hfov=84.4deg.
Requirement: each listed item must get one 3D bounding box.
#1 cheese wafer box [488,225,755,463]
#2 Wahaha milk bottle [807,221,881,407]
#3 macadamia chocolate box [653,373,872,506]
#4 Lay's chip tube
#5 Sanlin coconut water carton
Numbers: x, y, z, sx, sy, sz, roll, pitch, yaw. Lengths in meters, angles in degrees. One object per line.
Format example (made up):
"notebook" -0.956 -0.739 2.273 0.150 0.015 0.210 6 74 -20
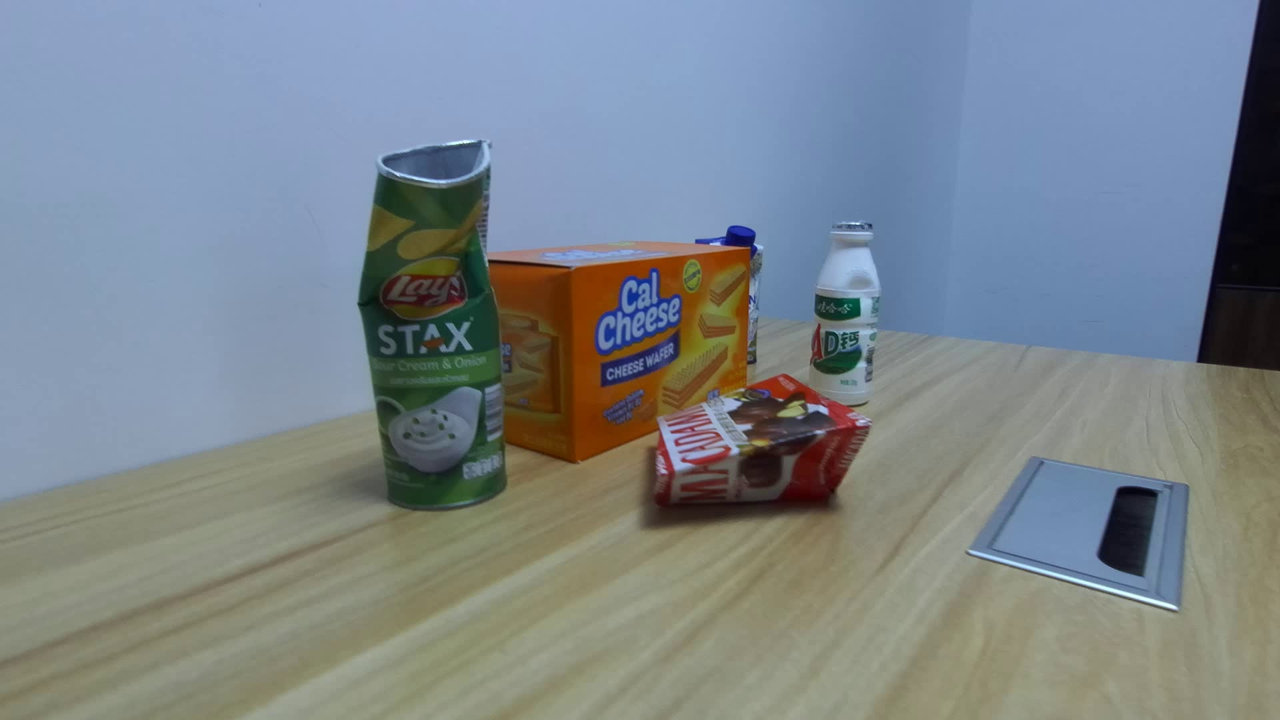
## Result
"cheese wafer box" -0.028 -0.022 0.561 0.147 0.129 0.223 9 16 38
"Wahaha milk bottle" 0.168 -0.032 0.578 0.053 0.136 0.053 1 13 0
"macadamia chocolate box" 0.057 0.046 0.416 0.112 0.056 0.126 -1 12 -7
"Lay's chip tube" -0.107 -0.016 0.387 0.079 0.199 0.070 -10 24 -34
"Sanlin coconut water carton" 0.088 -0.064 0.715 0.078 0.142 0.057 -9 20 -36
